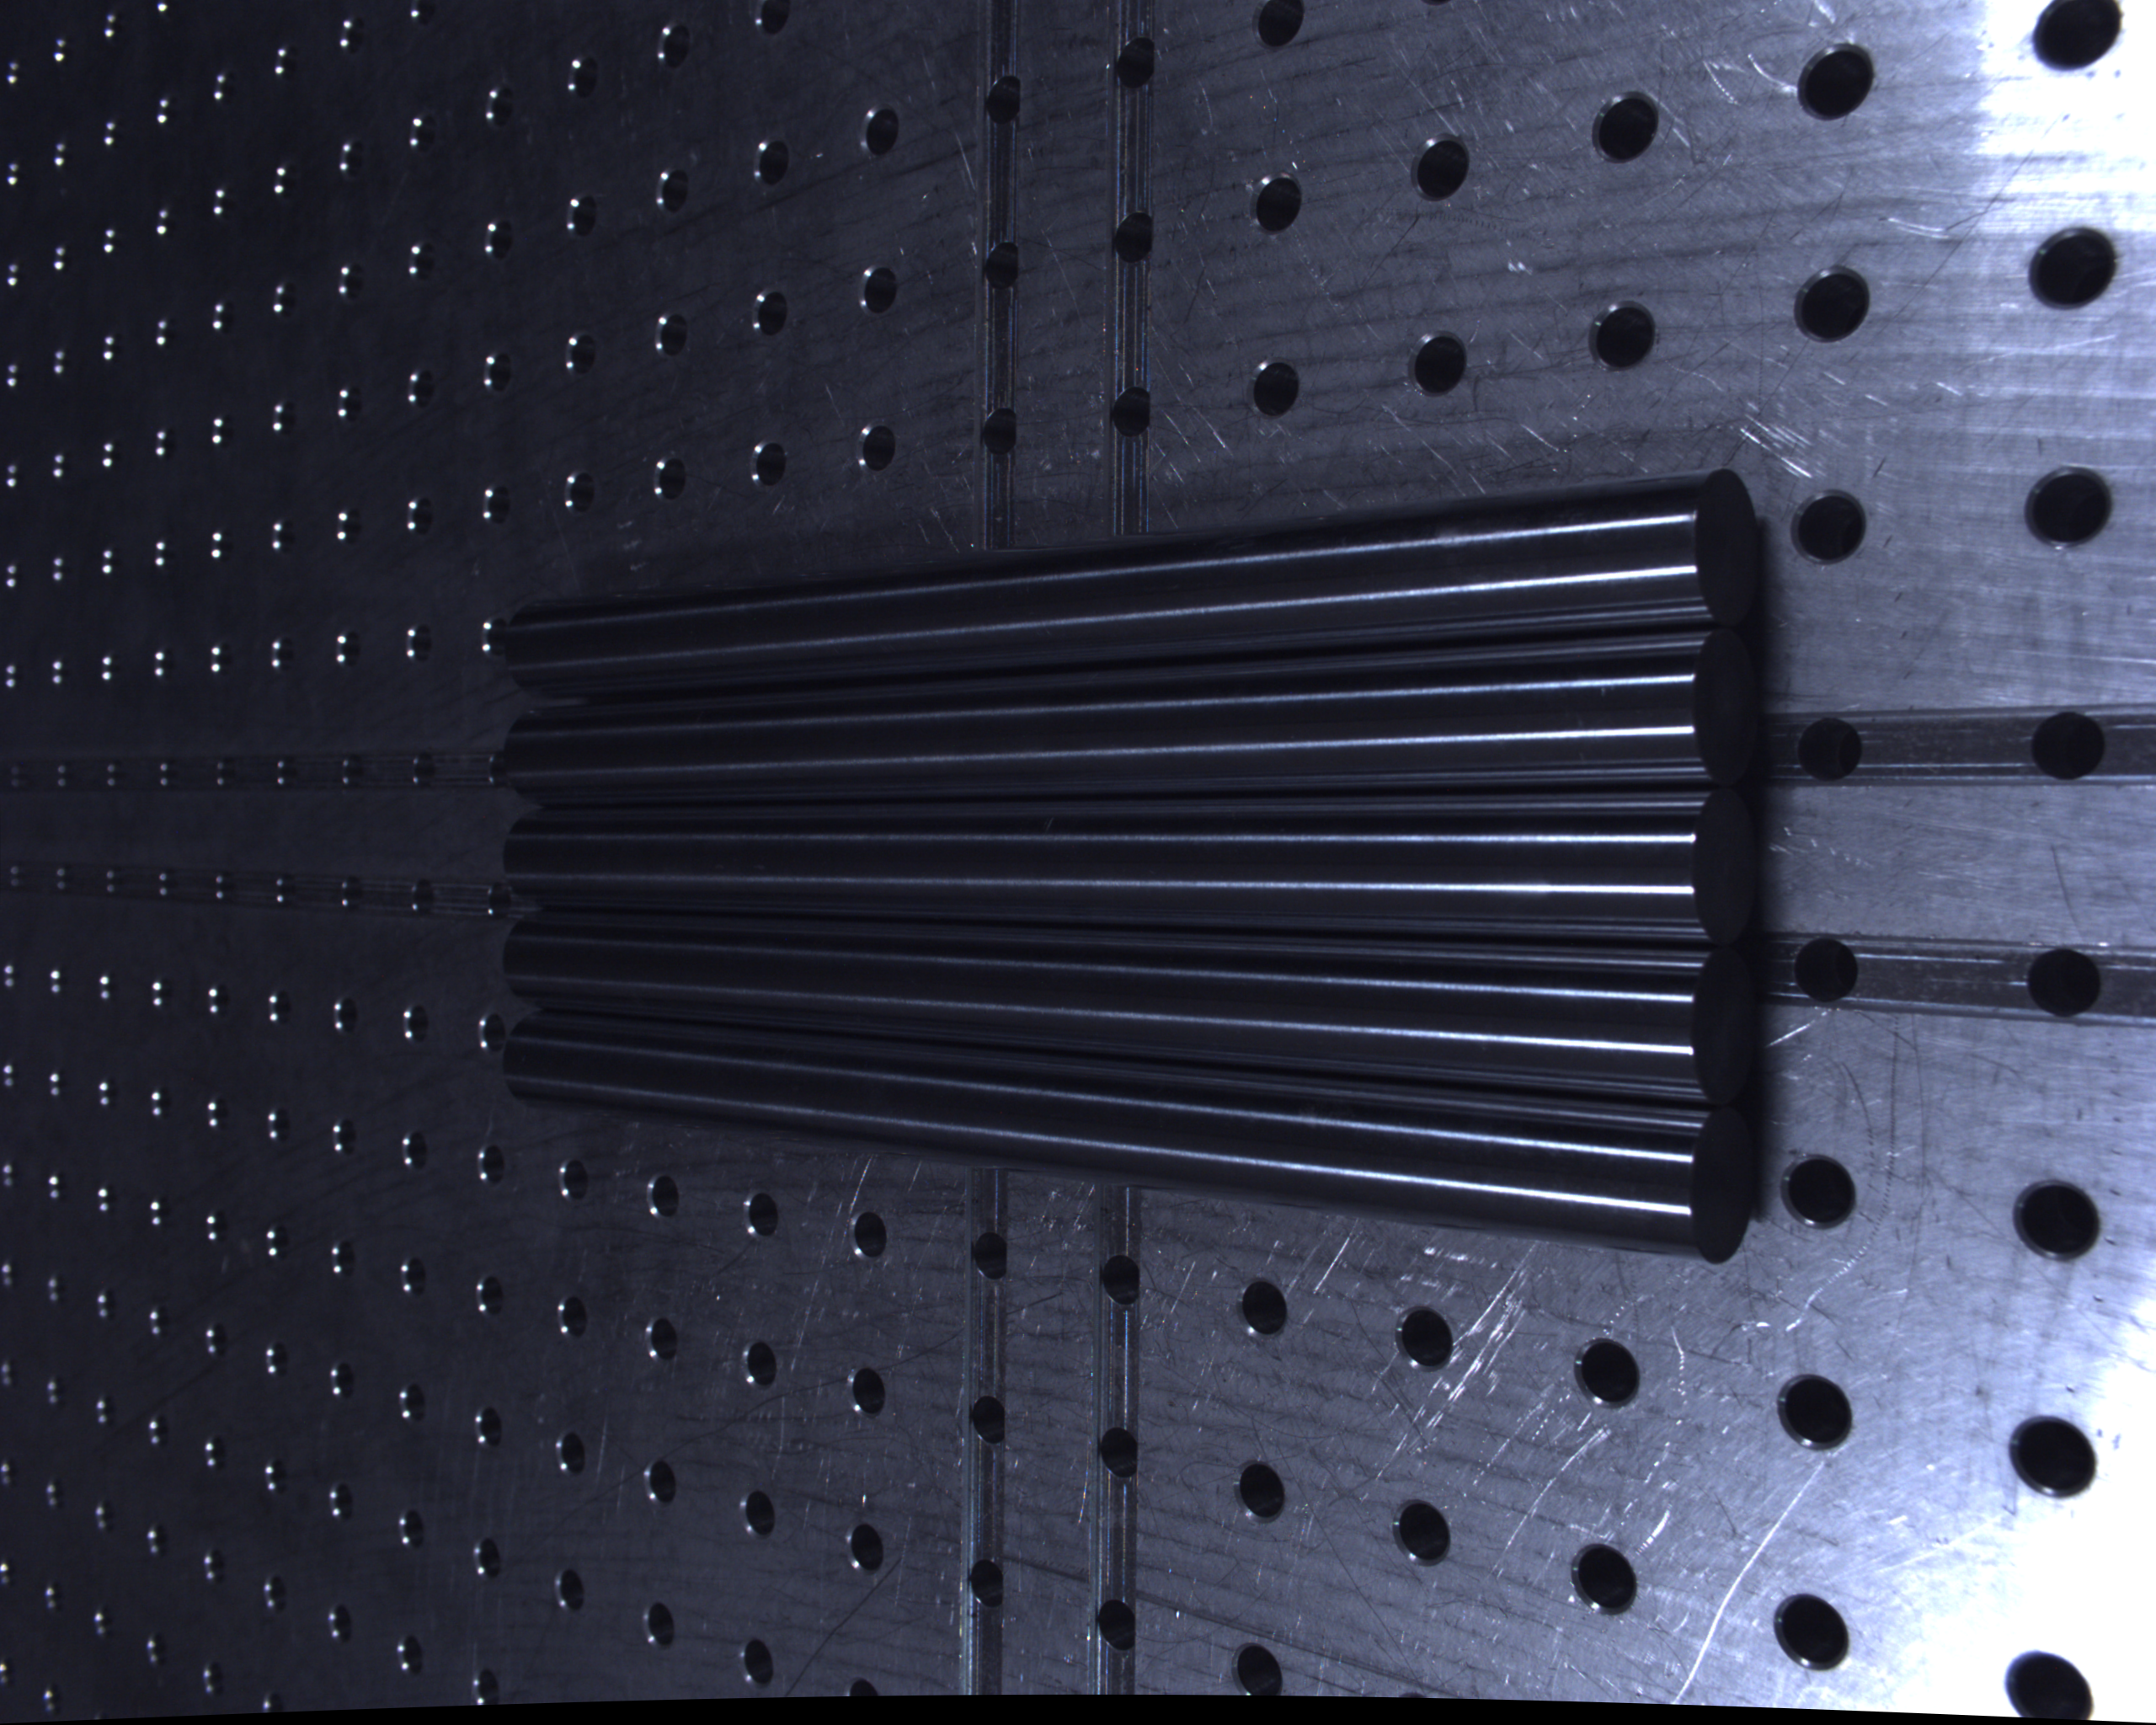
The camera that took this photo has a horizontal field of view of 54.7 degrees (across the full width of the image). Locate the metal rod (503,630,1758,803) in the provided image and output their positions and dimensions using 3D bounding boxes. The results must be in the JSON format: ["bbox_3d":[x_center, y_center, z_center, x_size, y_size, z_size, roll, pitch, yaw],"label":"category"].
[{"bbox_3d":[-0.015,-0.025,0.420,0.300,0.025,0.025,1,91,39],"label":"metal rod"}]

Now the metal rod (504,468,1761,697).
[{"bbox_3d":[-0.015,-0.051,0.419,0.300,0.025,0.025,1,91,39],"label":"metal rod"}]

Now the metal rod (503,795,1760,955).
[{"bbox_3d":[-0.015,0.000,0.419,0.300,0.025,0.025,1,91,39],"label":"metal rod"}]

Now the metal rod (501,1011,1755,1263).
[{"bbox_3d":[-0.016,0.049,0.420,0.300,0.025,0.025,0,90,39],"label":"metal rod"}]

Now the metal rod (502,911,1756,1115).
[{"bbox_3d":[-0.015,0.025,0.420,0.300,0.025,0.025,1,91,39],"label":"metal rod"}]
